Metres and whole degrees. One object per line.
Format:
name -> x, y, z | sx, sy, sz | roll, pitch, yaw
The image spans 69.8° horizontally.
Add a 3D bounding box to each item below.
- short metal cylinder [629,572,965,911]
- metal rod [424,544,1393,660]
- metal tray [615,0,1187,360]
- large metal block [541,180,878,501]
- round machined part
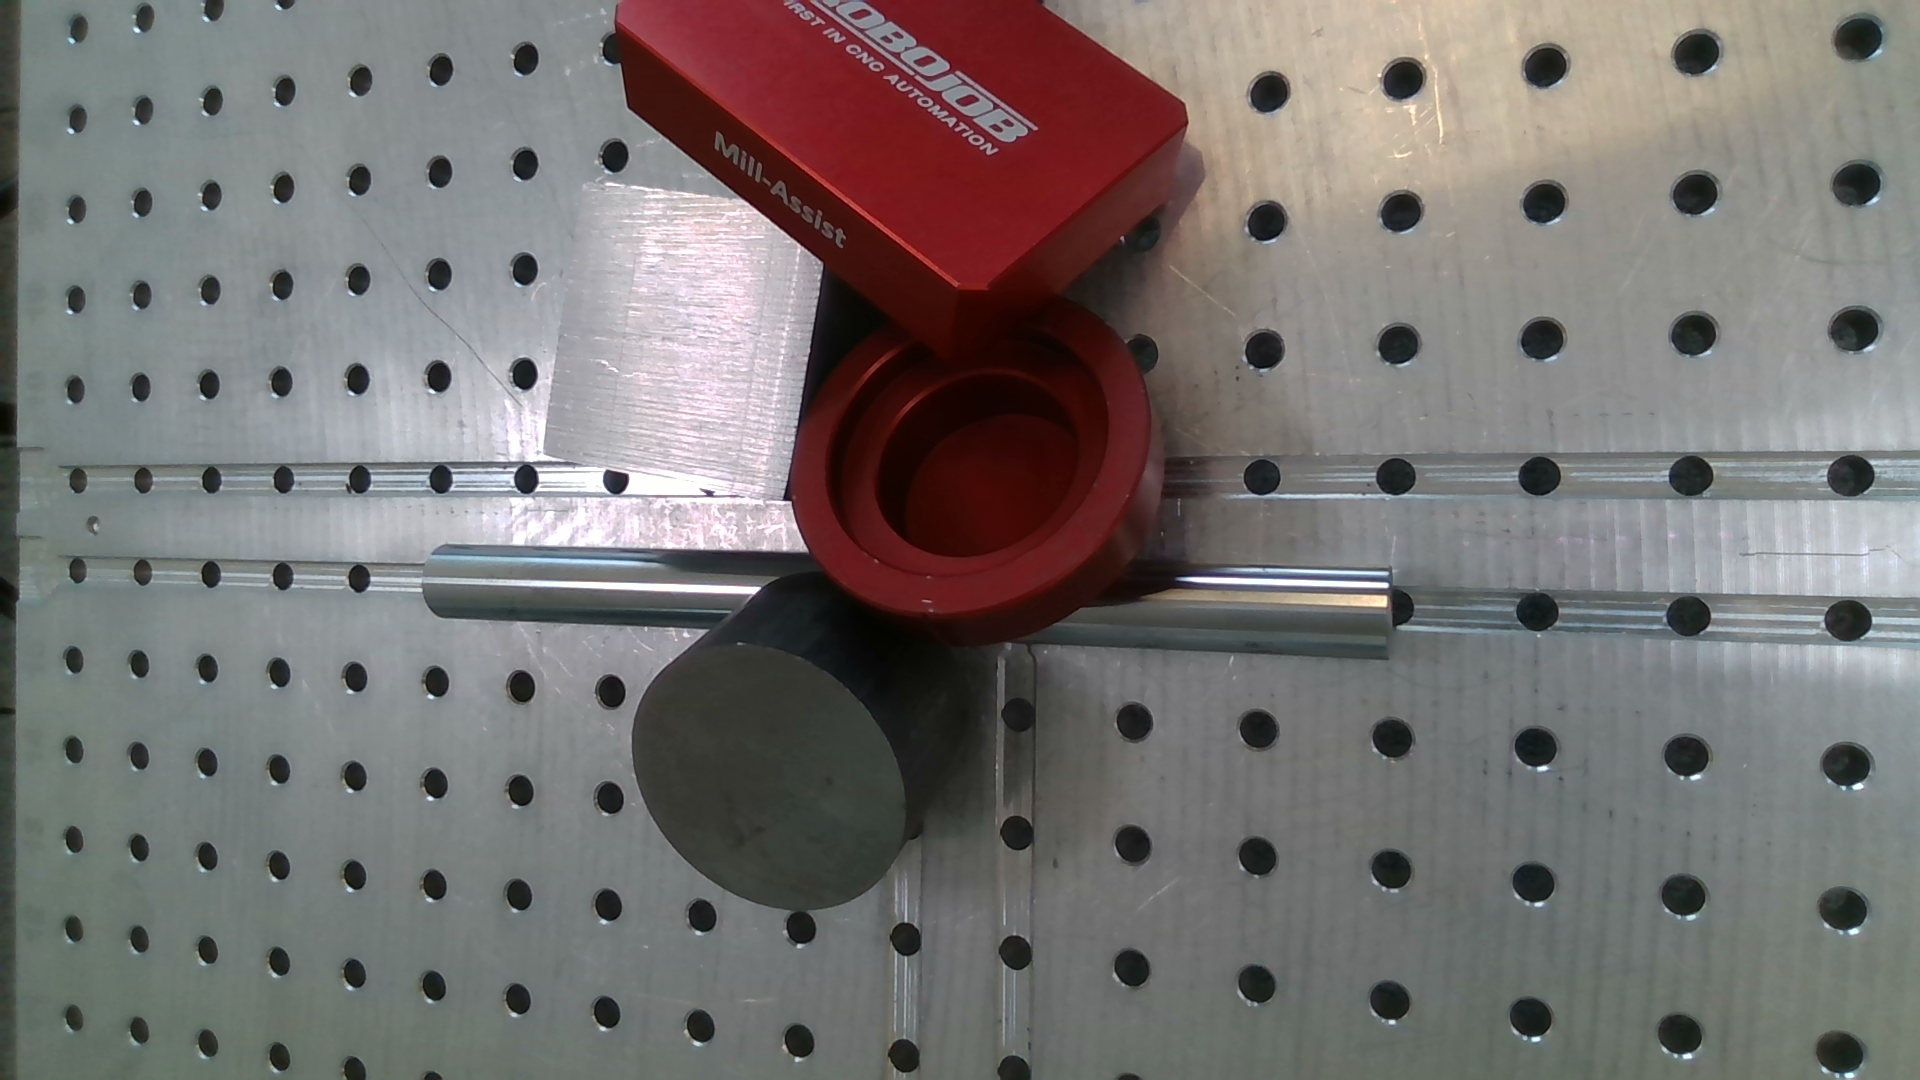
short metal cylinder -> -0.044, 0.055, 0.386 | 0.080, 0.050, 0.080 | 7, 113, 18
metal rod -> -0.029, 0.016, 0.408 | 0.300, 0.025, 0.025 | 1, 91, 20
metal tray -> -0.017, -0.117, 0.373 | 0.130, 0.030, 0.090 | 40, 64, 16
large metal block -> -0.070, -0.057, 0.408 | 0.080, 0.050, 0.080 | 11, 94, 20
round machined part -> 0.007, -0.017, 0.371 | 0.098, 0.042, 0.098 | -8, 62, 15
